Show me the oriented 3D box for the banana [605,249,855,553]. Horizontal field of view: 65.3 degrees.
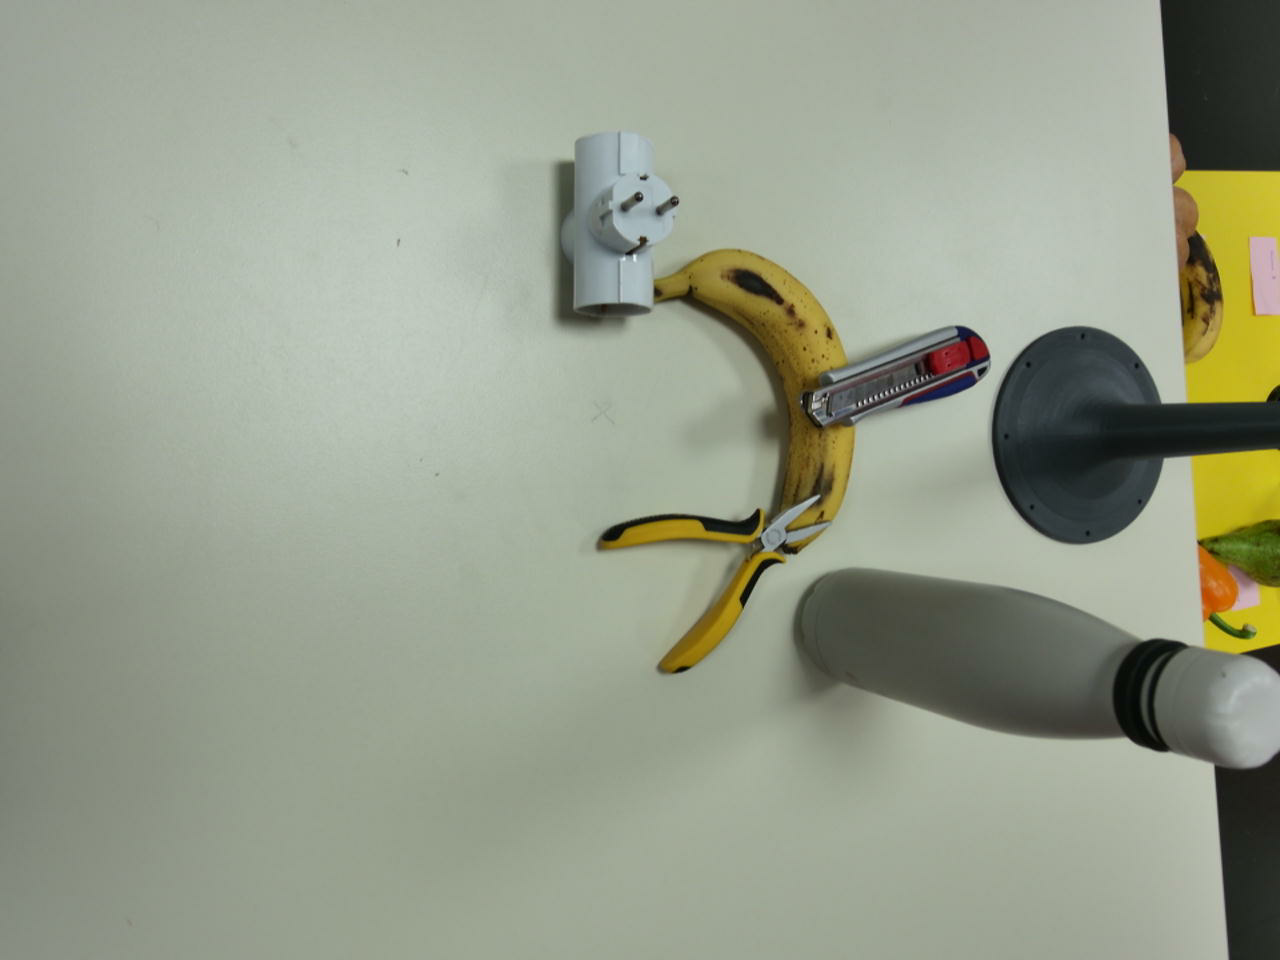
[{"bbox_3d":[0.078,-0.057,0.588,0.097,0.038,0.186,-36,103,-18],"label":"banana"}]
